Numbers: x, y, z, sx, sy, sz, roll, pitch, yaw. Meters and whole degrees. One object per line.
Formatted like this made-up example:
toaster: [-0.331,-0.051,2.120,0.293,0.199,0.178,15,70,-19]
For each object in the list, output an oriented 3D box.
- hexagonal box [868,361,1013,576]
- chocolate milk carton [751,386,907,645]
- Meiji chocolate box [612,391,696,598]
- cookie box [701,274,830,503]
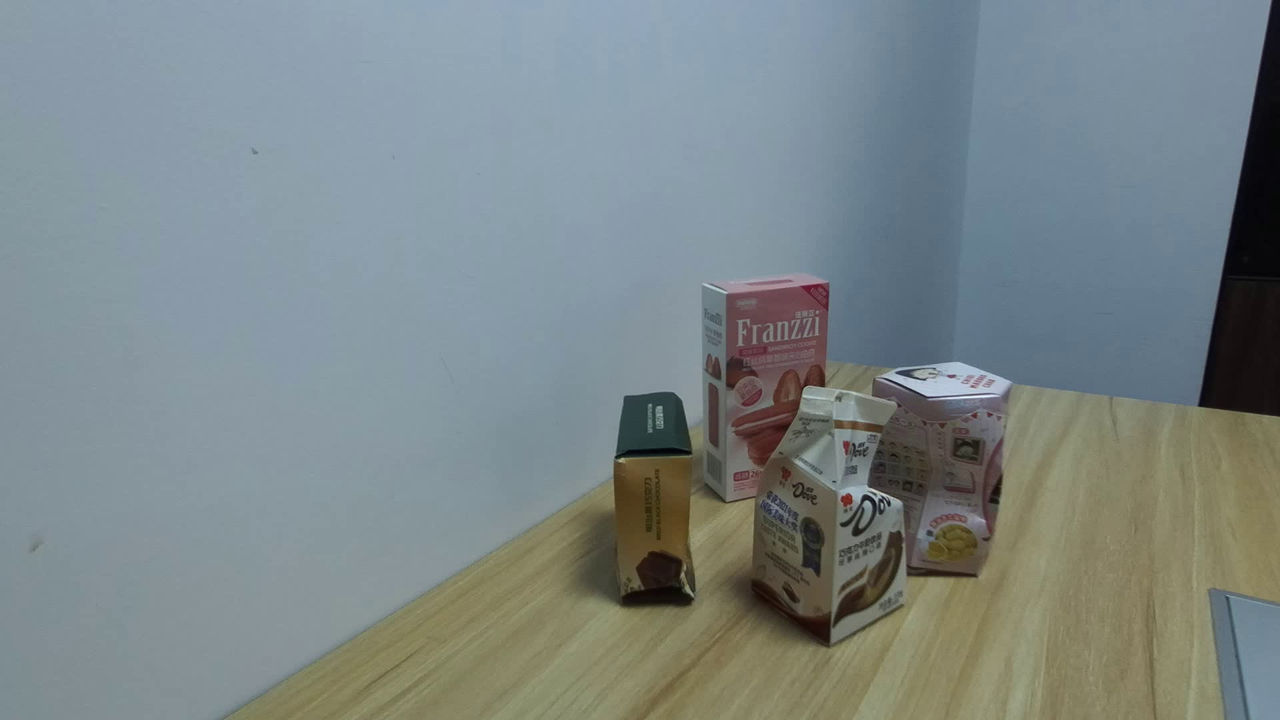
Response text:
hexagonal box: [0.210,0.077,0.500,0.093,0.134,0.088,-2,16,-1]
chocolate milk carton: [0.121,0.085,0.442,0.076,0.155,0.073,-12,21,-32]
Meiji chocolate box: [0.009,0.094,0.504,0.058,0.116,0.122,0,16,1]
cookie box: [0.107,0.024,0.604,0.096,0.184,0.048,-8,18,-17]
